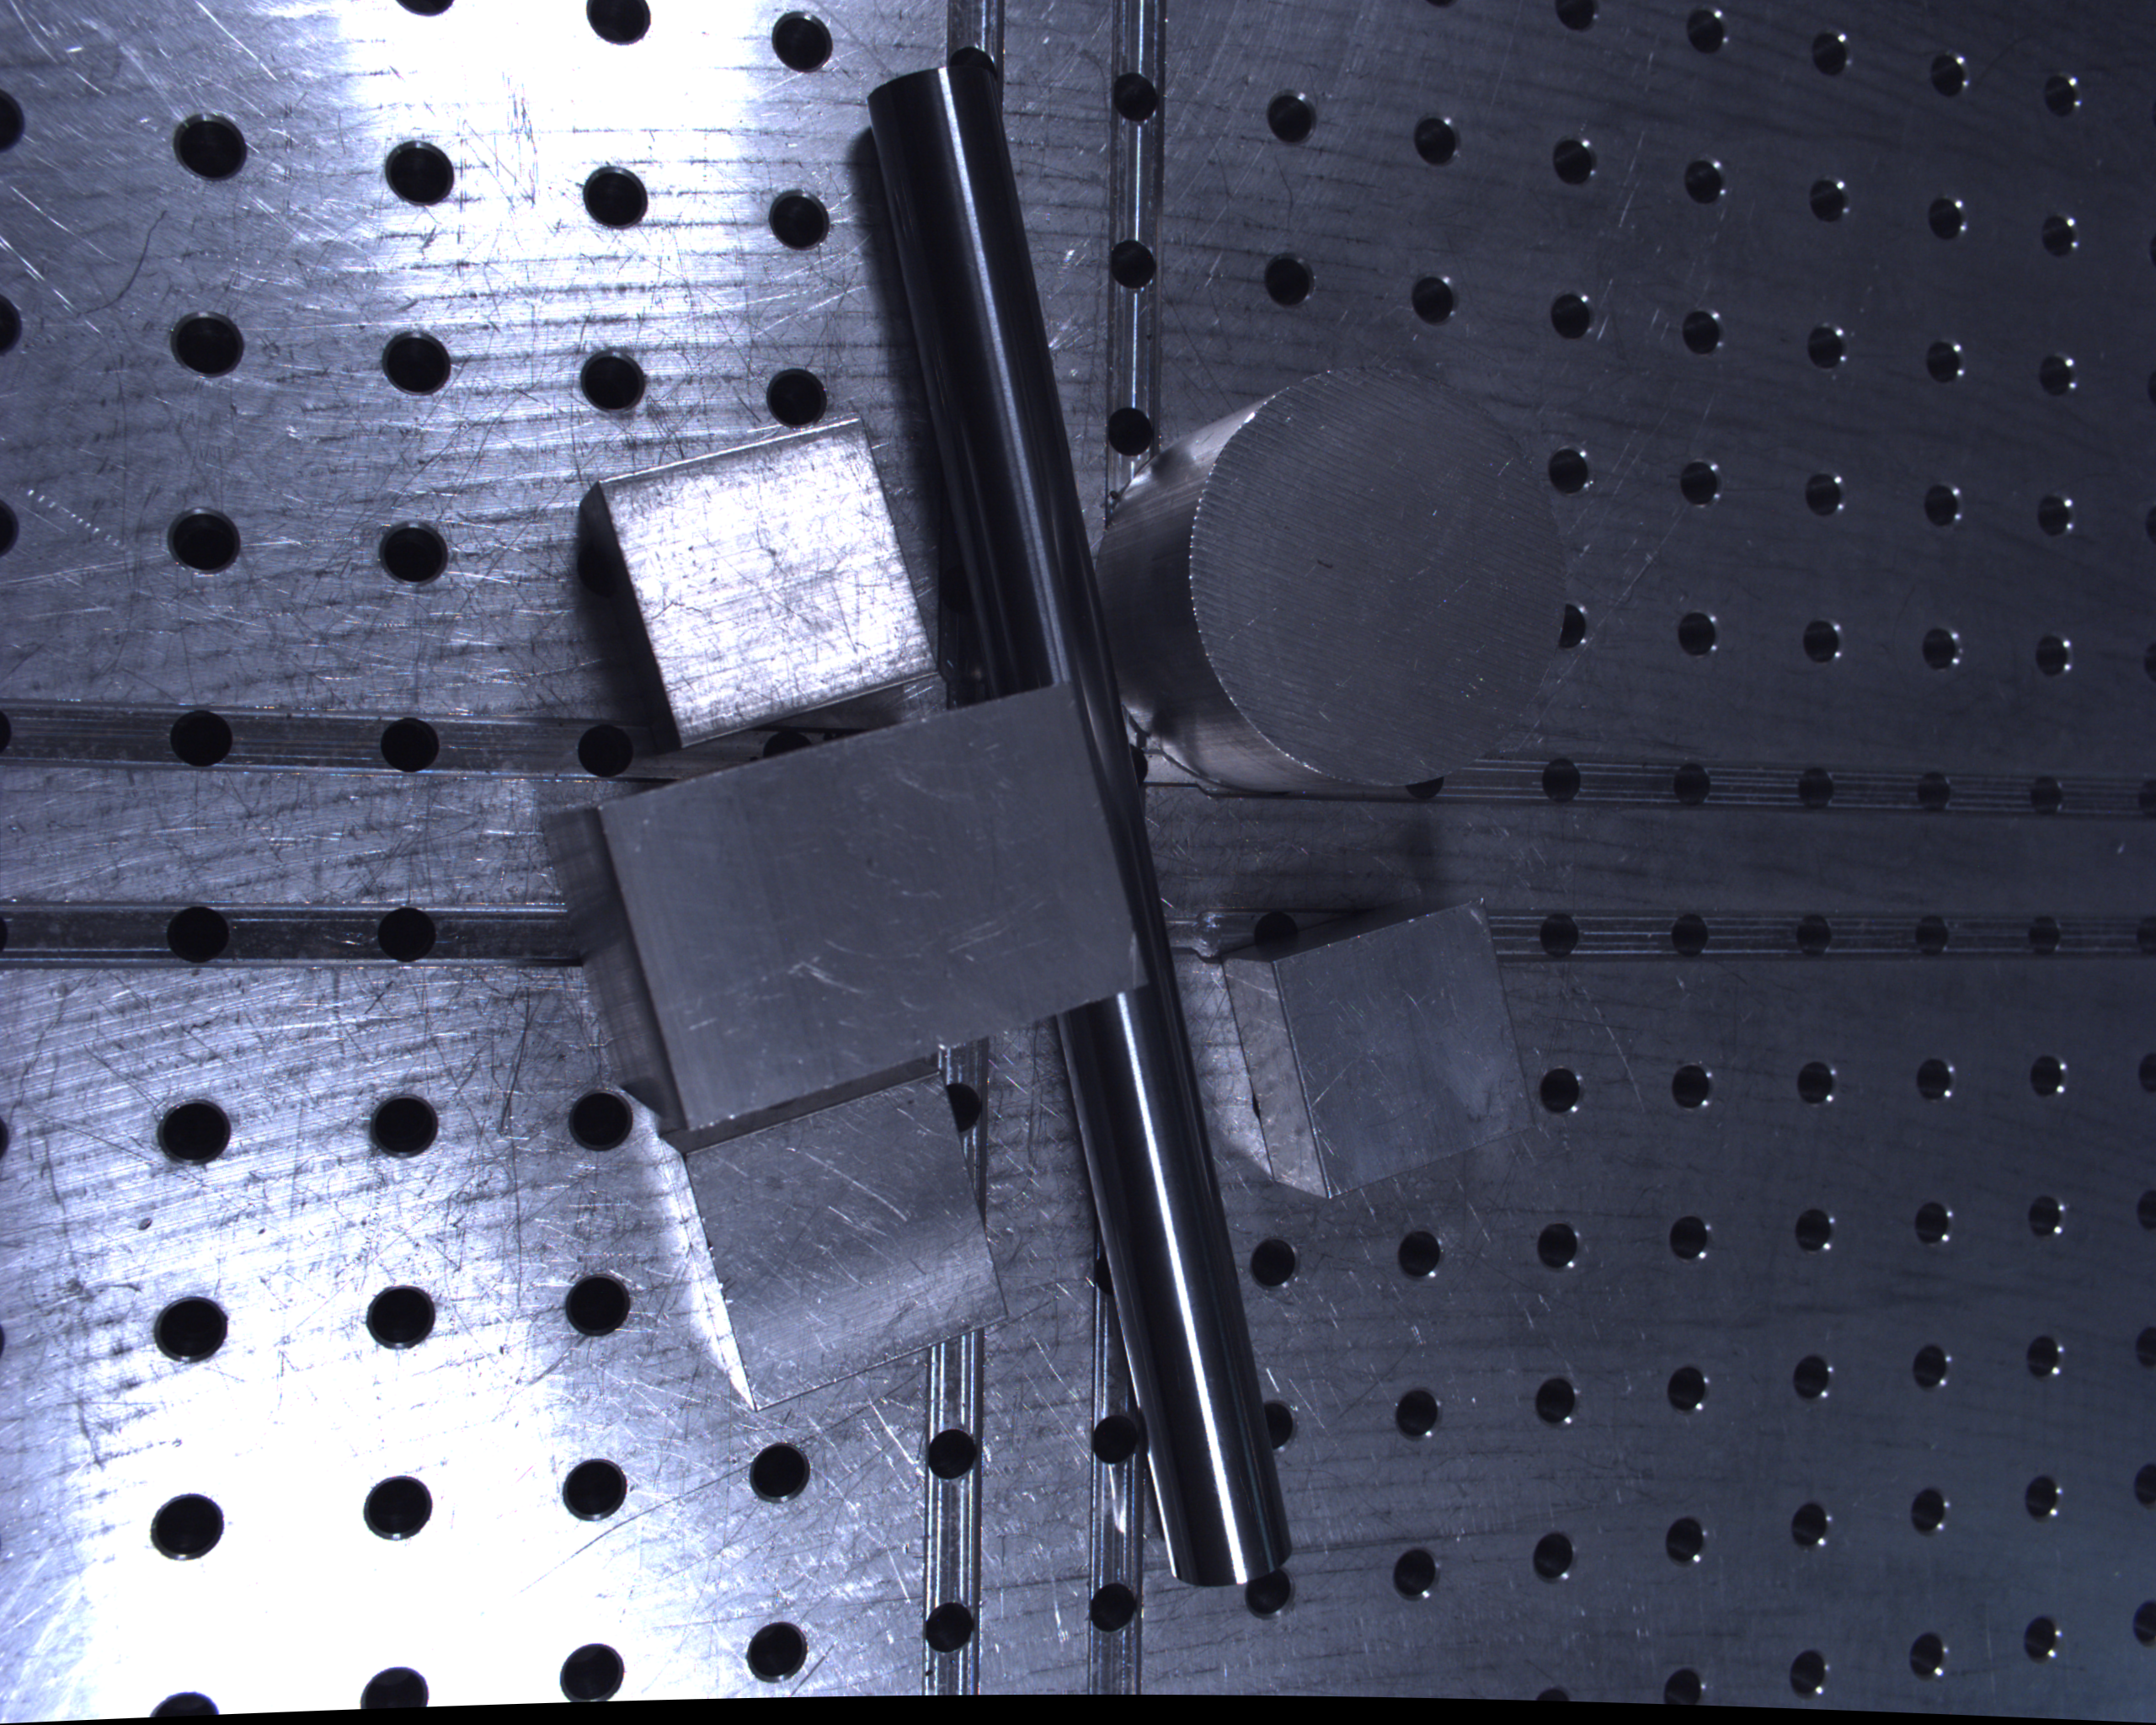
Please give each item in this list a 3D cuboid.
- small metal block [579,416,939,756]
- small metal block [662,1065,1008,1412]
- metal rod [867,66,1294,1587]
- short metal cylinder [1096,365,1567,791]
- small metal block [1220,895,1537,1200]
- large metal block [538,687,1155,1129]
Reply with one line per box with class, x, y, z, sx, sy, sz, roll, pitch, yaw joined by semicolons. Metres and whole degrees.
small metal block;-0.060;-0.051;0.391;0.050;0.025;0.050;-19;97;-19
small metal block;-0.047;0.069;0.396;0.050;0.025;0.050;-17;96;-20
metal rod;0.002;-0.004;0.414;0.025;0.025;0.298;-13;95;-20
short metal cylinder;0.049;-0.055;0.418;0.081;0.050;0.079;0;90;-21
small metal block;0.063;0.037;0.437;0.050;0.025;0.050;-16;96;-20
large metal block;-0.044;0.006;0.366;0.081;0.080;0.050;-16;96;-20
